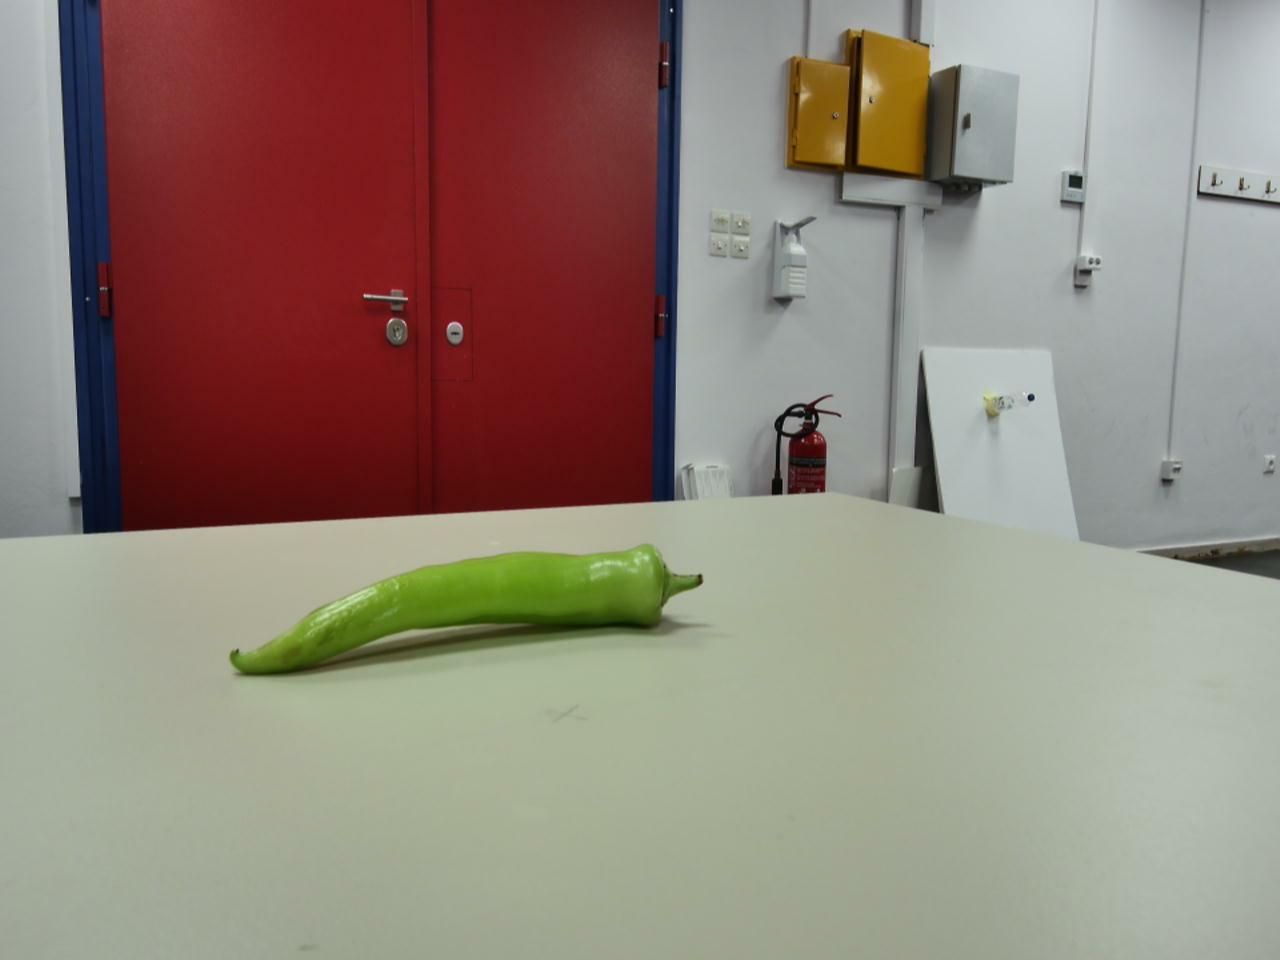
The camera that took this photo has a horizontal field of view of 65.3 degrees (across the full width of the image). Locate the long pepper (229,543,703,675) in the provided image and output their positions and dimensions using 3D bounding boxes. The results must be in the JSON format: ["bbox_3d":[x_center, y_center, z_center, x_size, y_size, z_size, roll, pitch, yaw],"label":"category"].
[{"bbox_3d":[-0.068,0.050,0.421,0.197,0.038,0.047,-2,4,-24],"label":"long pepper"}]
